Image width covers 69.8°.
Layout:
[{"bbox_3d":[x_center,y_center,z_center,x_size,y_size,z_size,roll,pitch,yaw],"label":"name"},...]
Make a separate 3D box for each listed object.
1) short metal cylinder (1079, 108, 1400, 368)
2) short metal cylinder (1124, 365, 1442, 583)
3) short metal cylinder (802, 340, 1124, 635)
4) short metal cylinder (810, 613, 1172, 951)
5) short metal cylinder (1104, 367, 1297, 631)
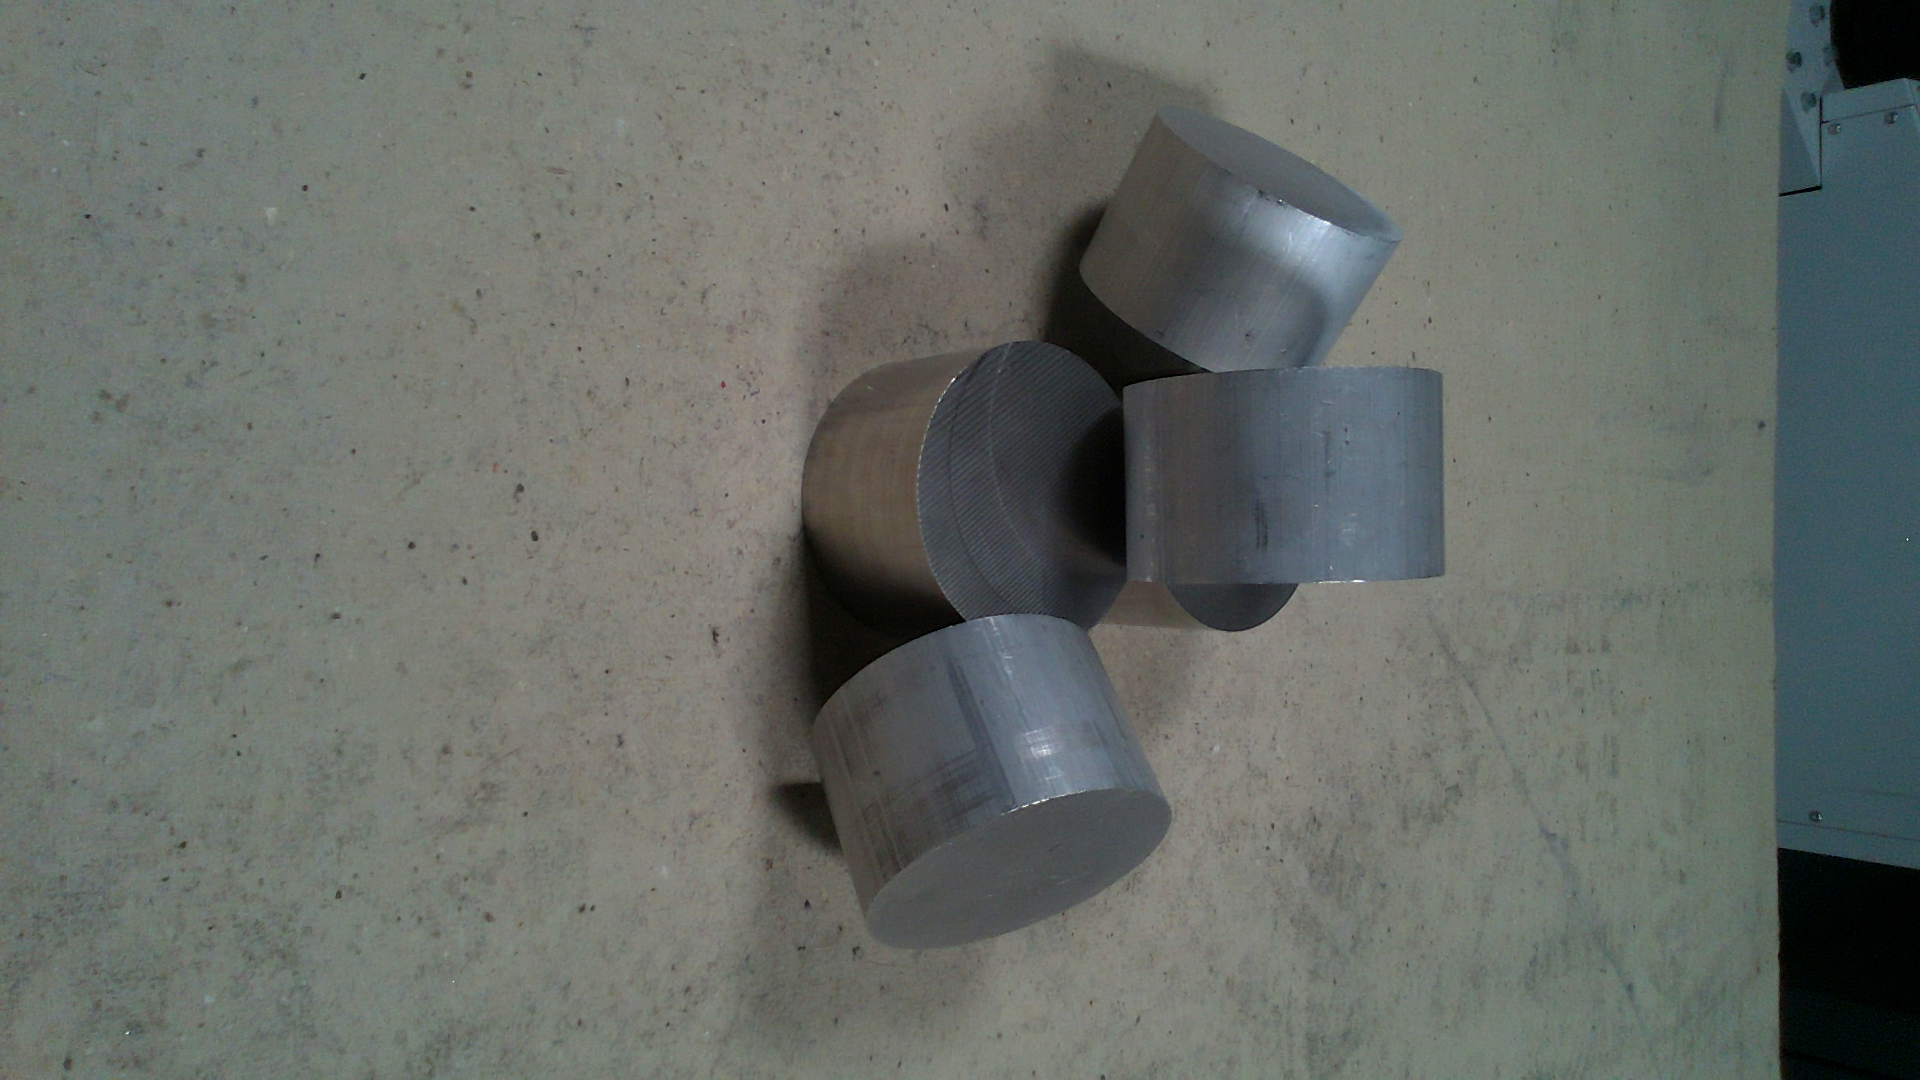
[{"bbox_3d":[0.083,-0.088,0.413,0.080,0.080,0.050,1,128,-40],"label":"short metal cylinder"},{"bbox_3d":[0.083,-0.016,0.357,0.080,0.080,0.050,-2,91,-40],"label":"short metal cylinder"},{"bbox_3d":[0.004,-0.012,0.376,0.080,0.050,0.080,0,90,-40],"label":"short metal cylinder"},{"bbox_3d":[0.007,0.063,0.350,0.080,0.080,0.050,9,45,-39],"label":"short metal cylinder"},{"bbox_3d":[0.066,-0.013,0.427,0.080,0.050,0.080,0,90,-40],"label":"short metal cylinder"}]
